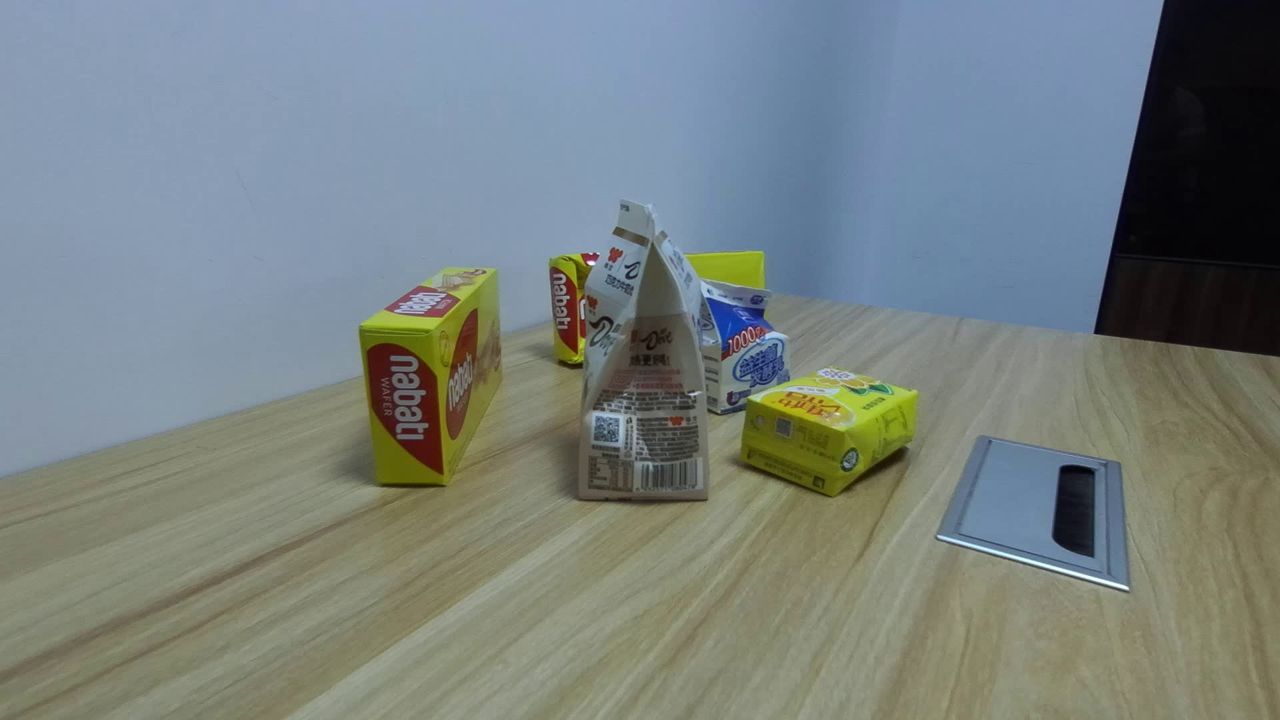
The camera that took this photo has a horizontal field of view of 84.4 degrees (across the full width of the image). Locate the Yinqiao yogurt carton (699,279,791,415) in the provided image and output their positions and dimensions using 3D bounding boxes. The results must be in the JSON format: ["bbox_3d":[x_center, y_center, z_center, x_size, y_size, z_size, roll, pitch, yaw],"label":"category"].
[{"bbox_3d":[0.065,-0.018,0.535,0.083,0.093,0.077,-10,20,-32],"label":"Yinqiao yogurt carton"}]

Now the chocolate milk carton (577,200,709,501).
[{"bbox_3d":[0.002,-0.008,0.389,0.073,0.155,0.084,0,18,-2],"label":"chocolate milk carton"}]

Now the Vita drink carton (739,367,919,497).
[{"bbox_3d":[0.121,0.041,0.435,0.076,0.043,0.109,19,21,38],"label":"Vita drink carton"}]

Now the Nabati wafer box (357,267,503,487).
[{"bbox_3d":[-0.129,-0.001,0.473,0.042,0.093,0.202,-1,16,-1],"label":"Nabati wafer box"}]
